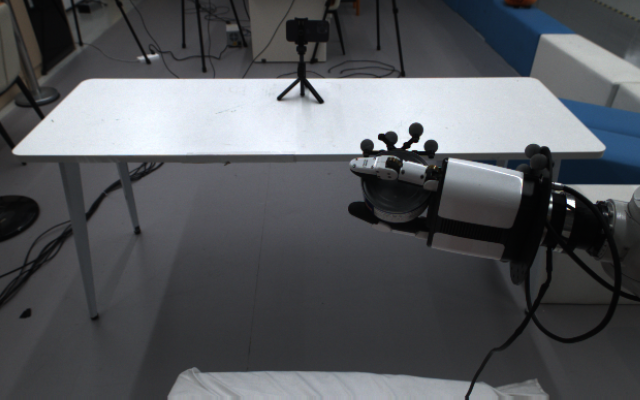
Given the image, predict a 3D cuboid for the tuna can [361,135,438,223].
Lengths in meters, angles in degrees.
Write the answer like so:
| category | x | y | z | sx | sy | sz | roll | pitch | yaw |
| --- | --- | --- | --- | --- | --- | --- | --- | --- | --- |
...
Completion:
| category | x | y | z | sx | sy | sz | roll | pitch | yaw |
| --- | --- | --- | --- | --- | --- | --- | --- | --- | --- |
| tuna can | 0.095 | -0.017 | 0.587 | 0.085 | 0.034 | 0.085 | -4 | 61 | 7 |
